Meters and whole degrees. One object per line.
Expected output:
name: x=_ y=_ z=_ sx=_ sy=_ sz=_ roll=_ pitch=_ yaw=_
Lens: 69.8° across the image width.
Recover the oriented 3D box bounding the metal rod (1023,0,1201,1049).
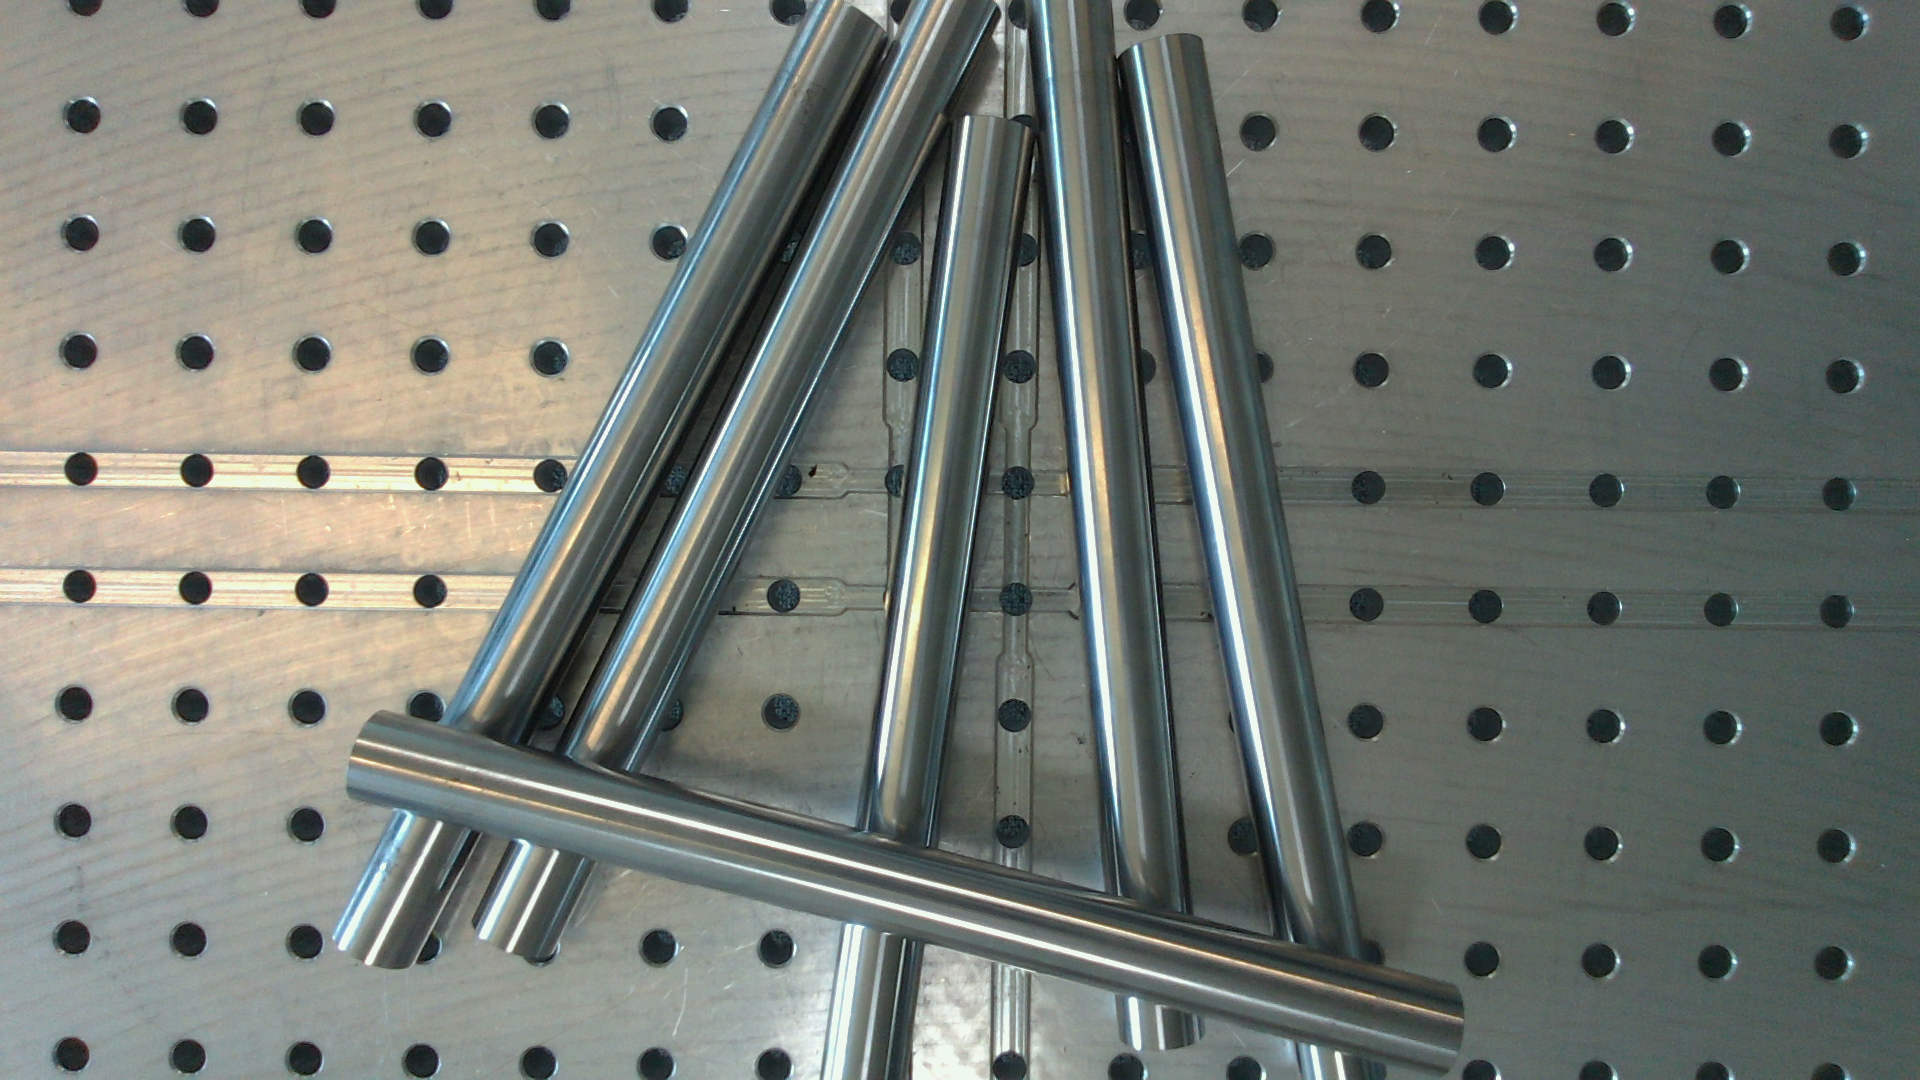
metal rod: x=0.044 y=-0.007 z=0.398 sx=0.025 sy=0.025 sz=0.300 roll=-5 pitch=90 yaw=0

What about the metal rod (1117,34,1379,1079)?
metal rod: x=0.083 y=0.007 z=0.398 sx=0.025 sy=0.025 sz=0.300 roll=-10 pitch=90 yaw=0

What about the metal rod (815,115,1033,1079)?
metal rod: x=-0.012 y=0.030 z=0.398 sx=0.025 sy=0.025 sz=0.300 roll=8 pitch=90 yaw=0

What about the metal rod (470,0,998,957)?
metal rod: x=-0.065 y=-0.021 z=0.397 sx=0.025 sy=0.025 sz=0.300 roll=26 pitch=90 yaw=0

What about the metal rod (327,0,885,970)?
metal rod: x=-0.101 y=-0.017 z=0.396 sx=0.025 sy=0.025 sz=0.300 roll=27 pitch=90 yaw=0
